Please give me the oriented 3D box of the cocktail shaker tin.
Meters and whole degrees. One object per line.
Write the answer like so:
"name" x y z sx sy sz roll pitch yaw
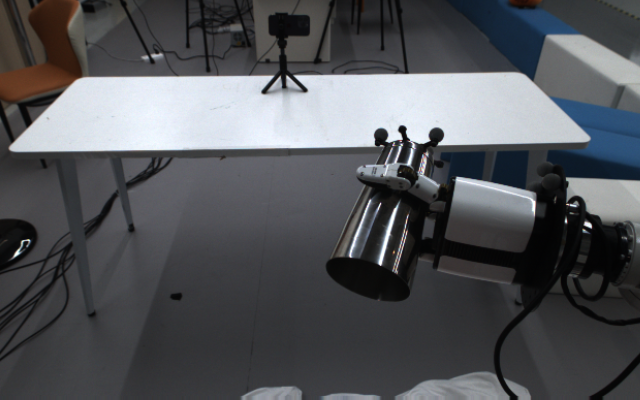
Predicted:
"cocktail shaker tin" 0.078 0.016 0.544 0.093 0.093 0.170 14 58 16
